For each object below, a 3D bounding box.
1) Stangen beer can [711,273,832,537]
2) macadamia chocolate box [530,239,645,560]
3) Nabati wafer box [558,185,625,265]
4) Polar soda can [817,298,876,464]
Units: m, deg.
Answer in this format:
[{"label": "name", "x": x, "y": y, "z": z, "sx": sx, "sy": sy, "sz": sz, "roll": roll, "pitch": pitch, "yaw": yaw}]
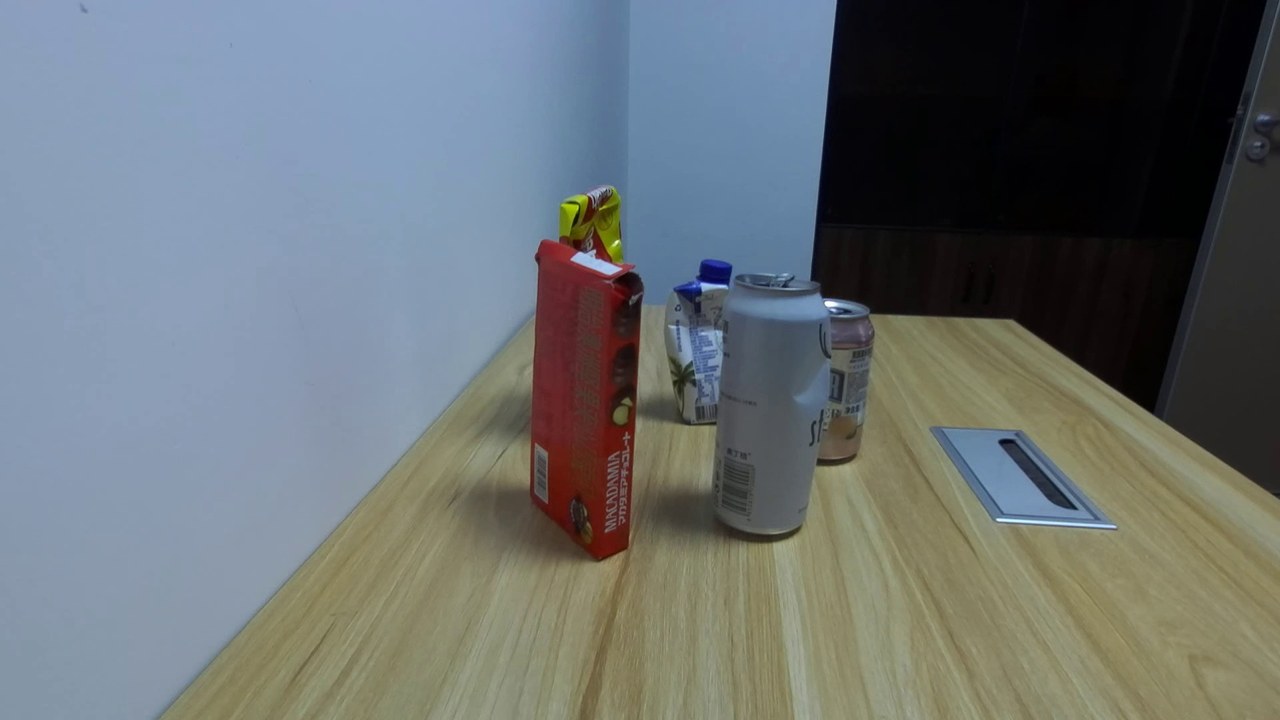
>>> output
[{"label": "Stangen beer can", "x": 0.085, "y": 0.028, "z": 0.466, "sx": 0.070, "sy": 0.173, "sz": 0.070, "roll": 1, "pitch": 19, "yaw": -2}, {"label": "macadamia chocolate box", "x": -0.039, "y": 0.023, "z": 0.456, "sx": 0.027, "sy": 0.187, "sz": 0.102, "roll": -9, "pitch": 22, "yaw": -36}, {"label": "Nabati wafer box", "x": -0.036, "y": -0.040, "z": 0.605, "sx": 0.042, "sy": 0.205, "sz": 0.113, "roll": 1, "pitch": 21, "yaw": 6}, {"label": "Polar soda can", "x": 0.153, "y": 0.017, "z": 0.580, "sx": 0.067, "sy": 0.125, "sz": 0.067, "roll": 0, "pitch": 17, "yaw": 0}]
